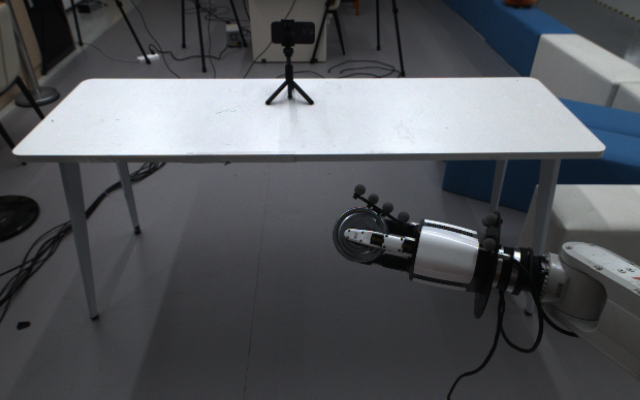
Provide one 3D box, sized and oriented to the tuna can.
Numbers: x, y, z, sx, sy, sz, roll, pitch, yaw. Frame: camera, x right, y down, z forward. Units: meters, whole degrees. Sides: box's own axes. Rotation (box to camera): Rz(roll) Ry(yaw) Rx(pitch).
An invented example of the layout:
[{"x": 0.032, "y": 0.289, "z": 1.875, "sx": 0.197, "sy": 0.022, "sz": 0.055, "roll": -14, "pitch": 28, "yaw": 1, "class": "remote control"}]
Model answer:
[{"x": 0.067, "y": 0.060, "z": 0.741, "sx": 0.085, "sy": 0.085, "sz": 0.034, "roll": 13, "pitch": -4, "yaw": 15, "class": "tuna can"}]
